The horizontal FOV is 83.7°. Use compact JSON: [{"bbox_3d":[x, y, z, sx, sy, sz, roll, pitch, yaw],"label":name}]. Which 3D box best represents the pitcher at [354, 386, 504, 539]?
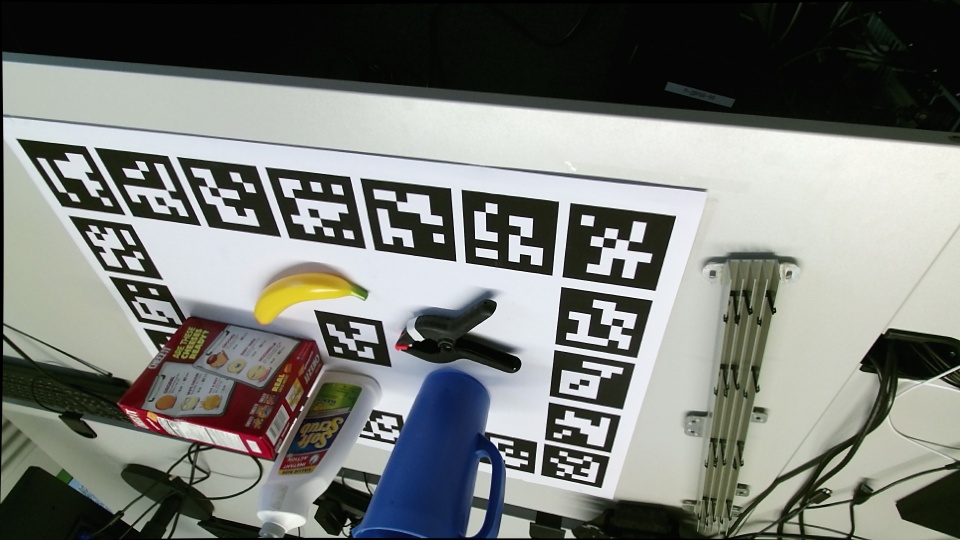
[{"bbox_3d":[-0.053,0.279,0.713,0.189,0.241,0.133,-5,130,25],"label":"pitcher"}]

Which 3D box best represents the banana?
[{"bbox_3d":[-0.251,0.045,0.741,0.198,0.038,0.074,-20,123,31],"label":"banana"}]

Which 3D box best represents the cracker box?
[{"bbox_3d":[-0.377,0.175,0.782,0.214,0.163,0.072,9,136,8],"label":"cracker box"}]

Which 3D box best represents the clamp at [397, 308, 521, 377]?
[{"bbox_3d":[-0.037,0.099,0.714,0.165,0.036,0.122,-4,132,22],"label":"clamp"}]

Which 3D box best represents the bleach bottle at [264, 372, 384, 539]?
[{"bbox_3d":[-0.232,0.270,0.786,0.103,0.250,0.068,8,134,10],"label":"bleach bottle"}]
